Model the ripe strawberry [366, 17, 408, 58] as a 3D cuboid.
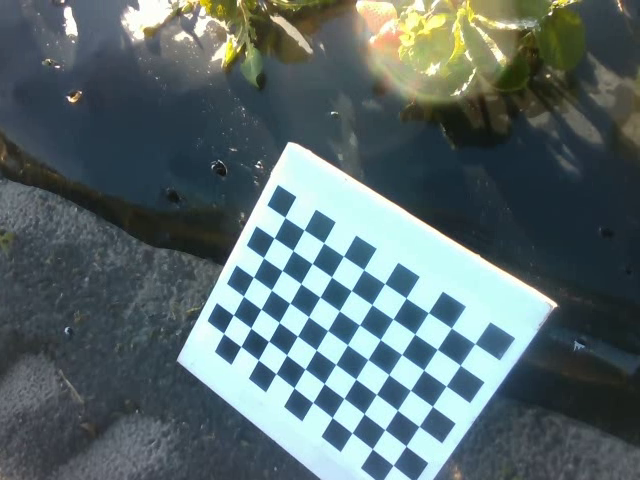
[{"bbox_3d":[0.062,-0.178,0.530,0.055,0.038,0.040,1,14,-40],"label":"ripe strawberry"}]
